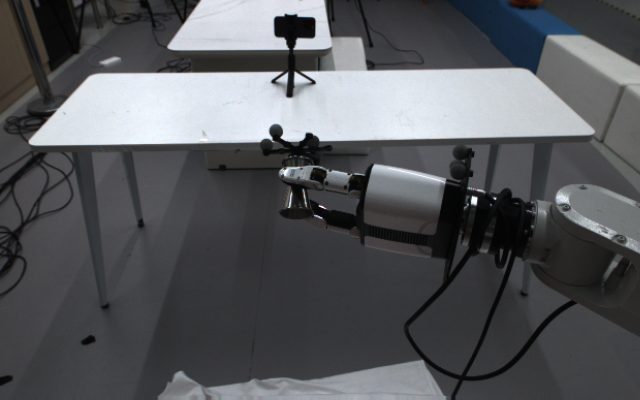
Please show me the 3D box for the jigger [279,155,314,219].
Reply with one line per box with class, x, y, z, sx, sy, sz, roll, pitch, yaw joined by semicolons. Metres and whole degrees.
jigger;-0.028;-0.017;0.592;0.043;0.043;0.071;1;70;-2
